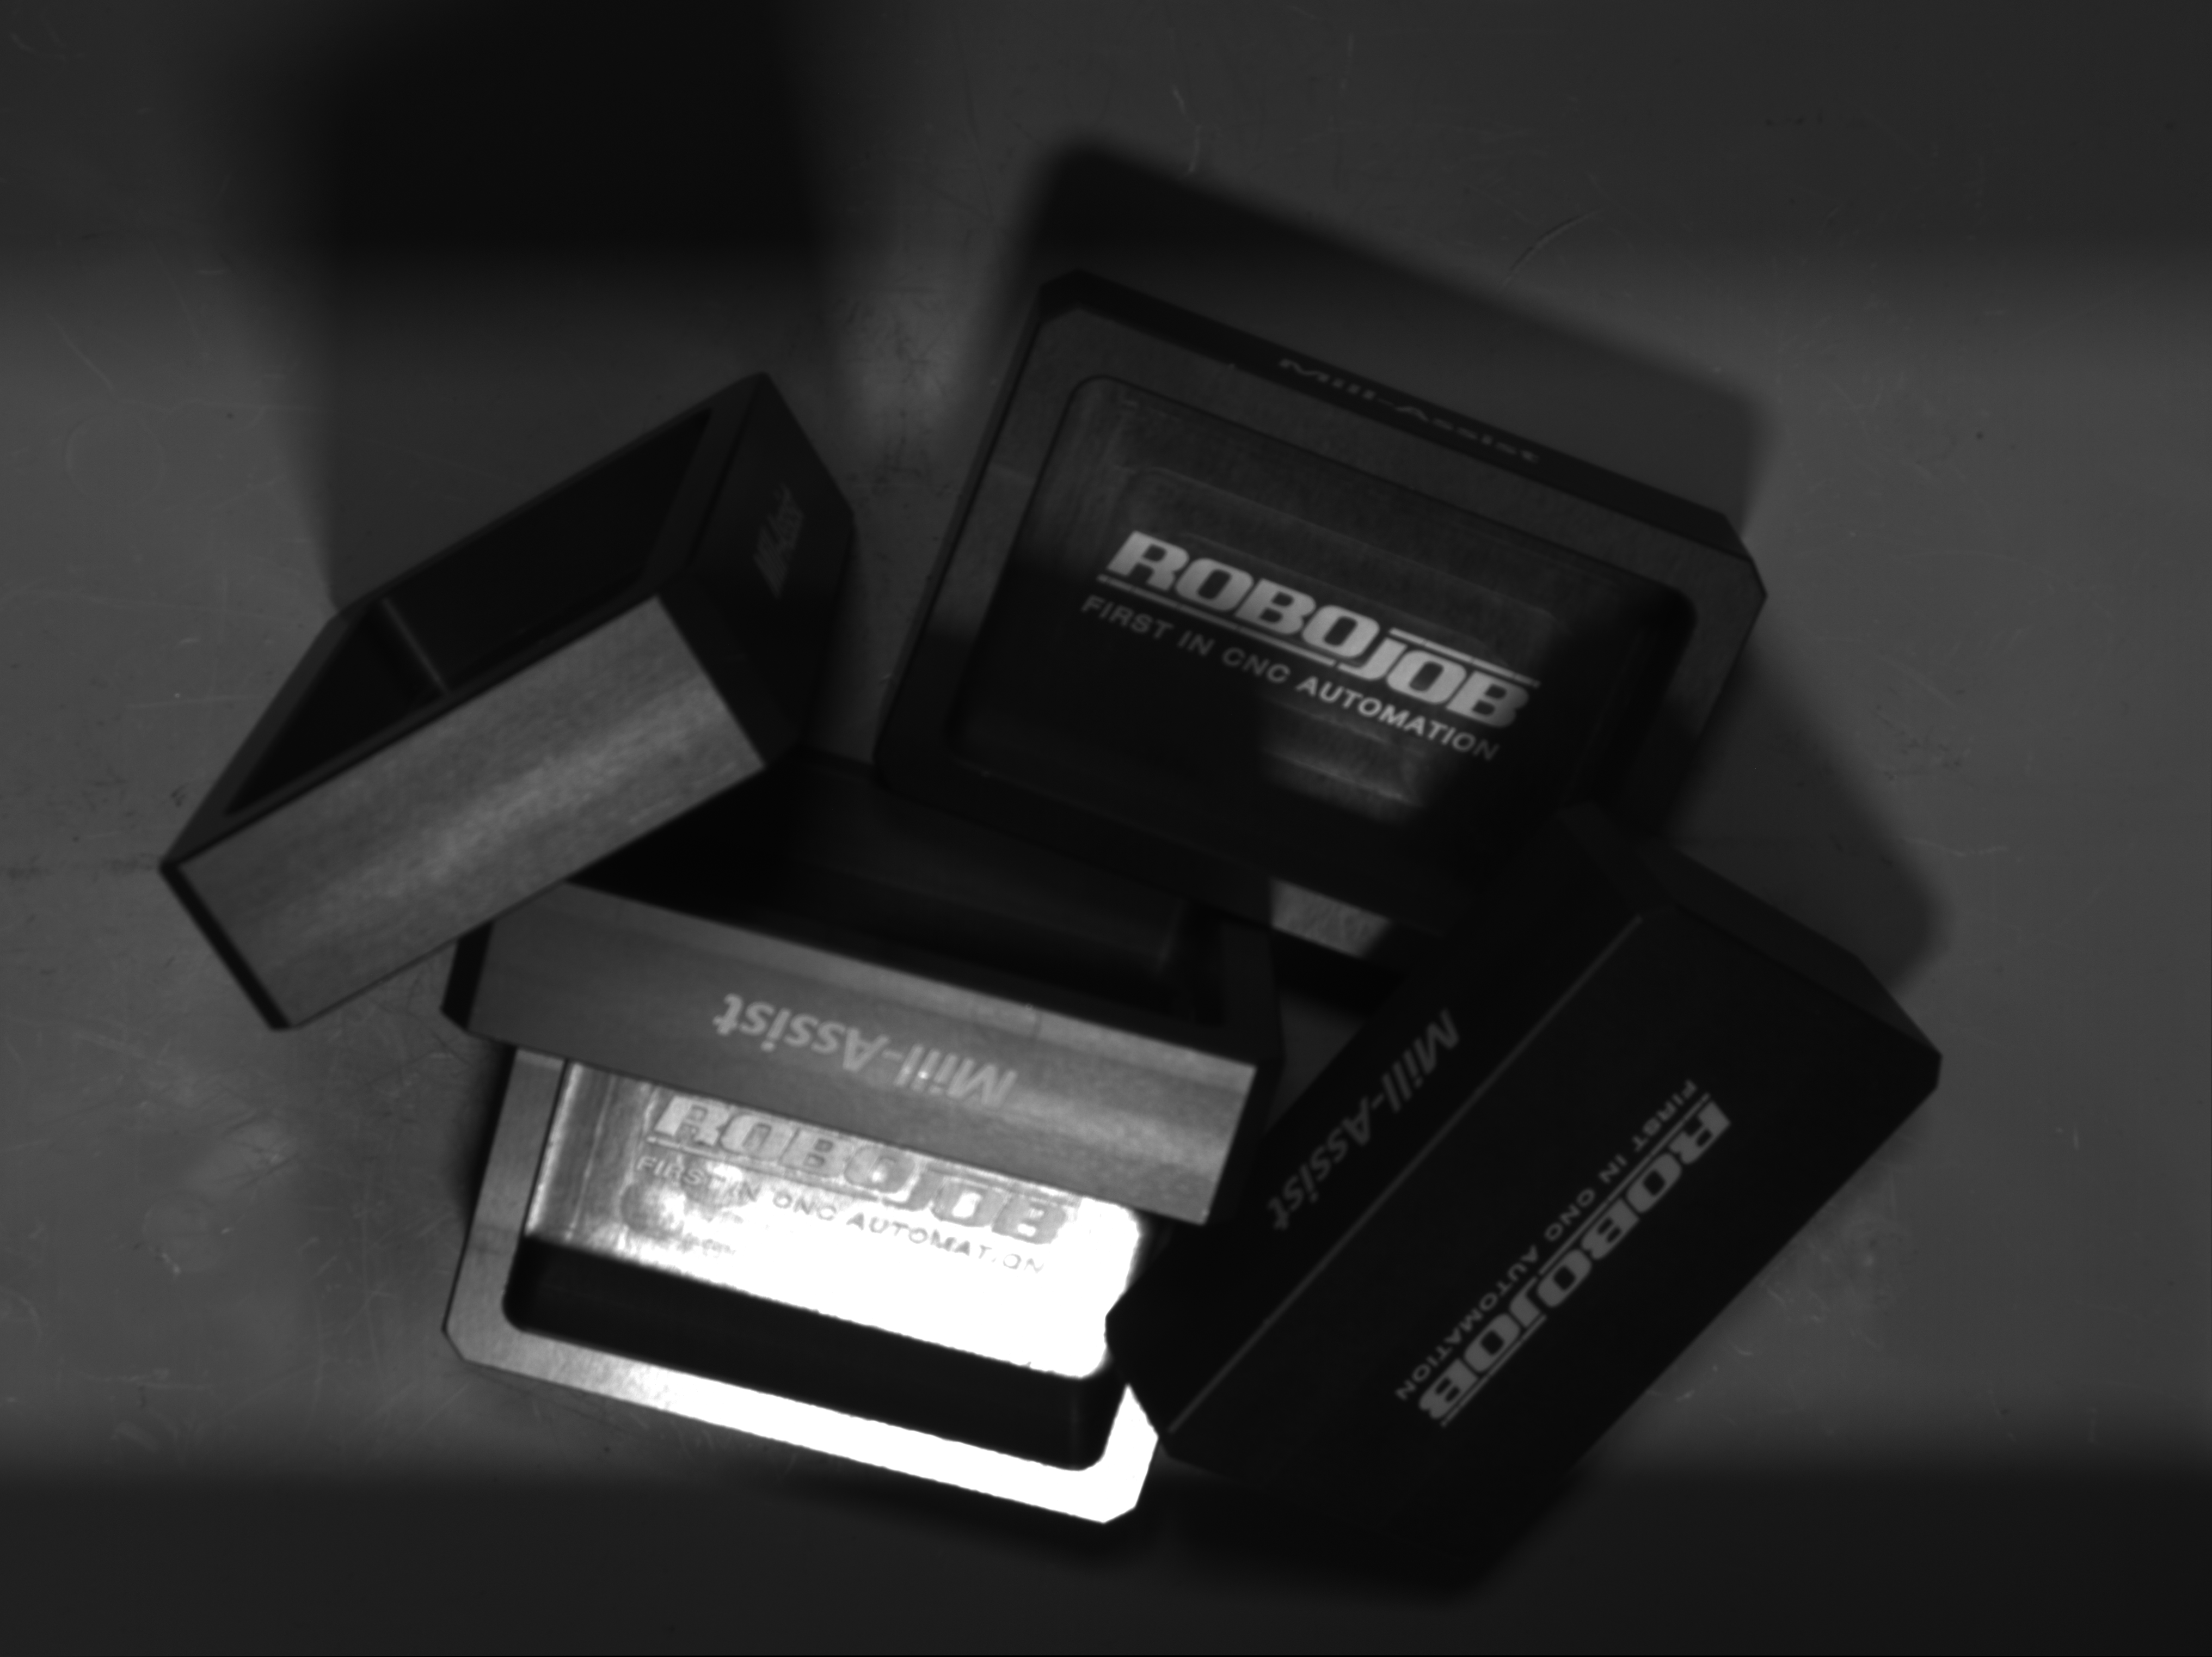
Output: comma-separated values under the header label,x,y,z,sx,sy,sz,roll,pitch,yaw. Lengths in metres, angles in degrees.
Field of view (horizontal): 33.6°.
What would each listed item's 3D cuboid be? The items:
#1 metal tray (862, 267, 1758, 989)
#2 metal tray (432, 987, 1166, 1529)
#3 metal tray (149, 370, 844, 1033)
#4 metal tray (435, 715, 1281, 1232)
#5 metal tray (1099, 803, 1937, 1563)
label,x,y,z,sx,sy,sz,roll,pitch,yaw
metal tray,0.034,-0.031,0.628,0.130,0.030,0.090,20,109,-8
metal tray,-0.047,0.067,0.661,0.130,0.030,0.090,15,109,-6
metal tray,-0.091,-0.024,0.575,0.090,0.130,0.030,-28,108,10
metal tray,-0.039,0.020,0.613,0.130,0.090,0.030,15,109,-6
metal tray,0.072,0.066,0.643,0.090,0.030,0.130,27,110,-40
